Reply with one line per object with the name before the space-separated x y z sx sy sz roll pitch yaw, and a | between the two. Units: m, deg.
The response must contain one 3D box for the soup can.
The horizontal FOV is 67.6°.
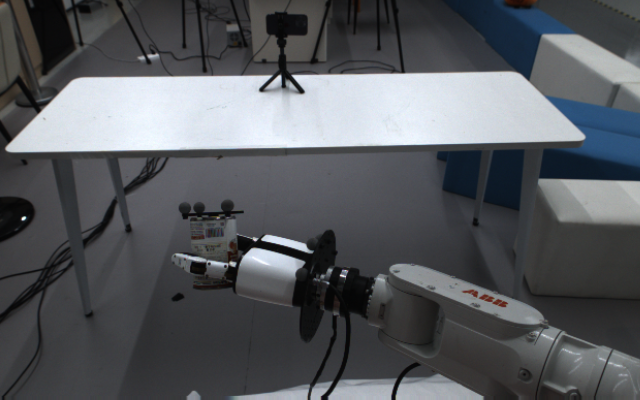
soup can | -0.153 0.076 0.703 0.067 0.101 0.067 -3 -2 0
